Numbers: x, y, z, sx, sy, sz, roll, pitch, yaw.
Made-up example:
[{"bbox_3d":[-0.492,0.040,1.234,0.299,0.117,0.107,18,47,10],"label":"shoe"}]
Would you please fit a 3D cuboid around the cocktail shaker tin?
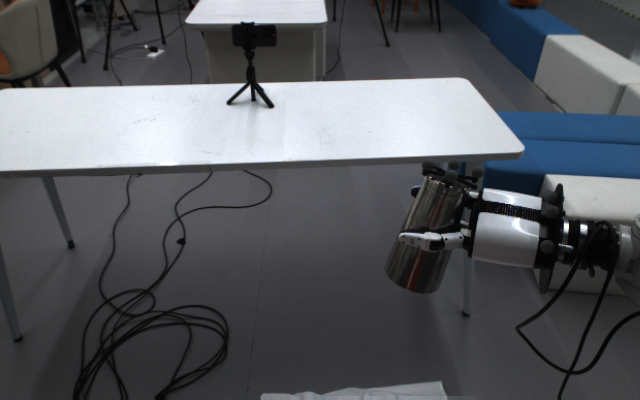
[{"bbox_3d":[0.169,0.043,0.737,0.093,0.170,0.093,12,24,-5],"label":"cocktail shaker tin"}]
